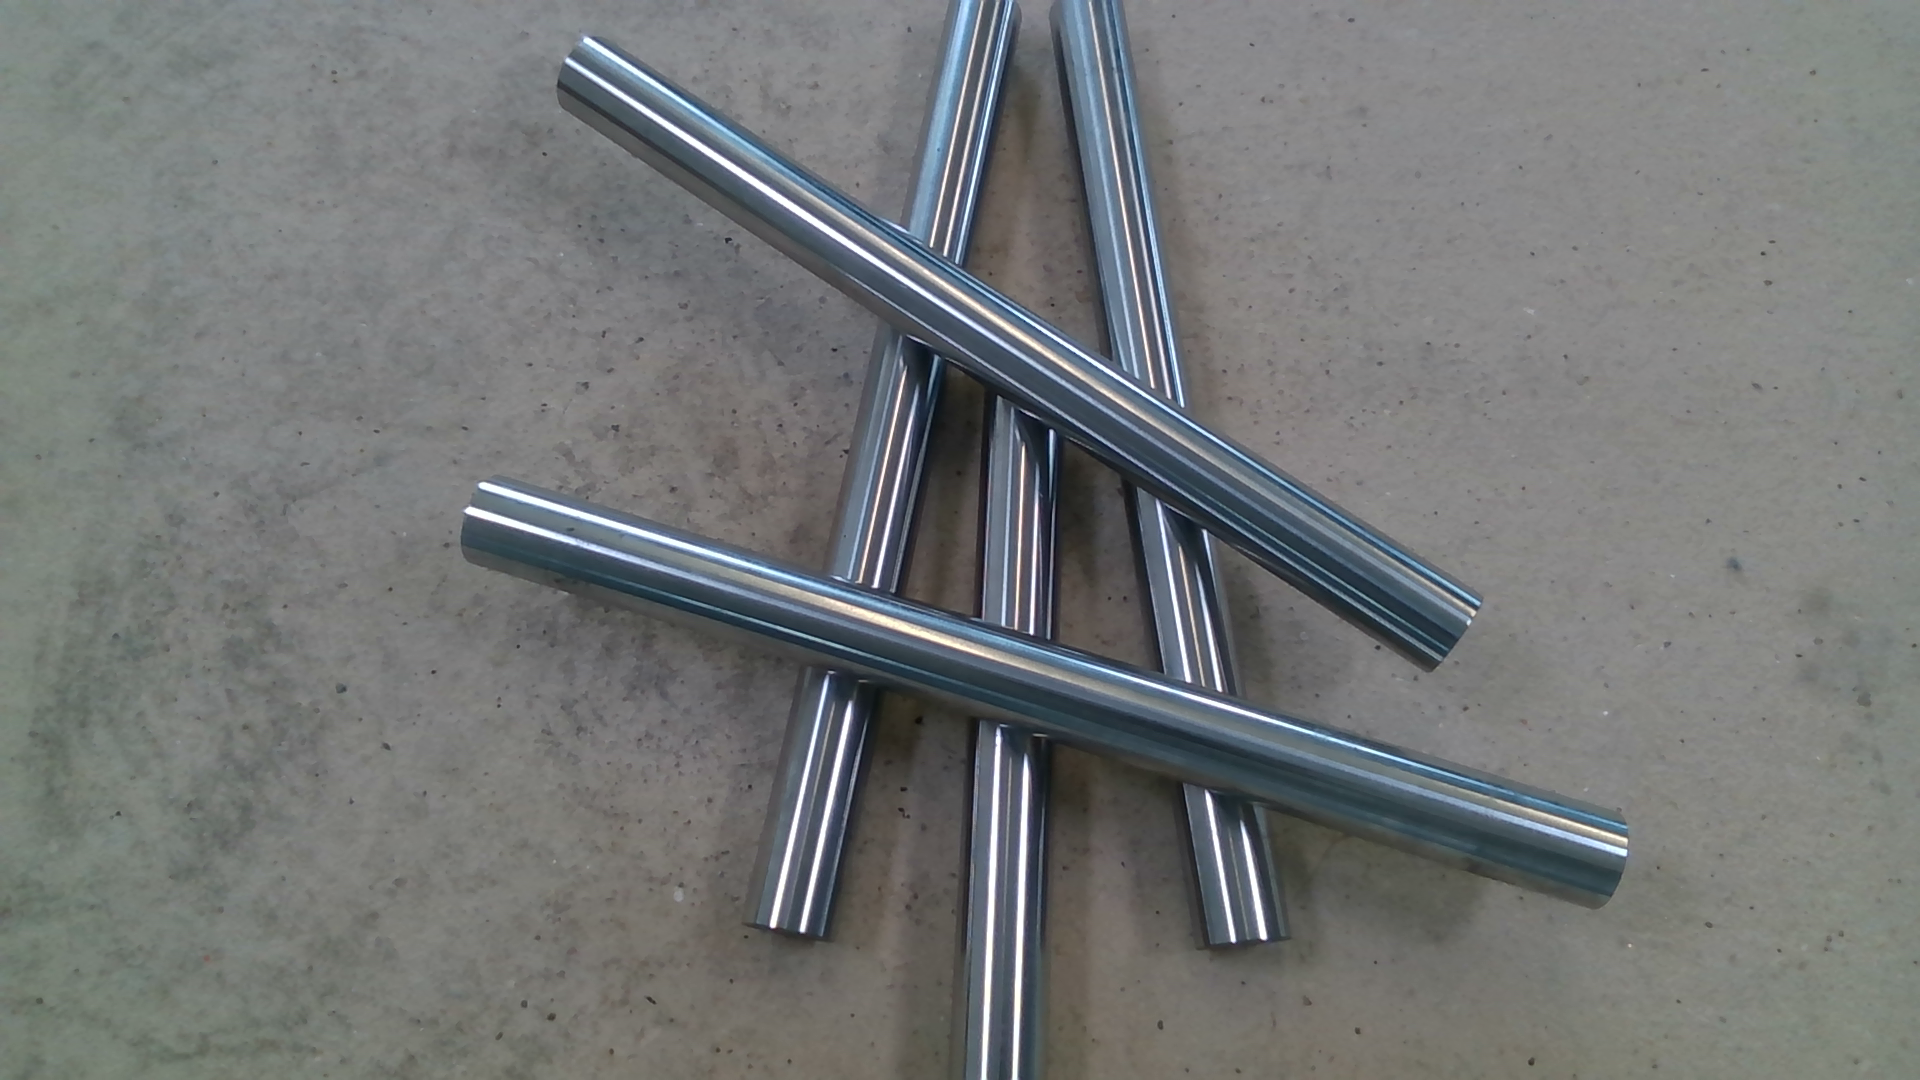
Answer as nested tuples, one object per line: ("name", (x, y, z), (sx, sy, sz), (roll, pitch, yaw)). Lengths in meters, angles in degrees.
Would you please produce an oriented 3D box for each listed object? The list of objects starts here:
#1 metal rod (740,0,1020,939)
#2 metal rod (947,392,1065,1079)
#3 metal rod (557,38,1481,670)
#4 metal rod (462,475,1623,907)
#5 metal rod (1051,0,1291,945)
("metal rod", (-0.019, -0.037, 0.409), (0.025, 0.025, 0.299), (10, 71, 3))
("metal rod", (0.012, 0.086, 0.365), (0.025, 0.025, 0.299), (3, 70, 1))
("metal rod", (0.008, -0.059, 0.390), (0.300, 0.025, 0.025), (34, 74, 11))
("metal rod", (0.015, 0.037, 0.356), (0.300, 0.025, 0.025), (16, 71, 6))
("metal rod", (0.058, -0.036, 0.408), (0.025, 0.025, 0.299), (-6, 71, -2))
